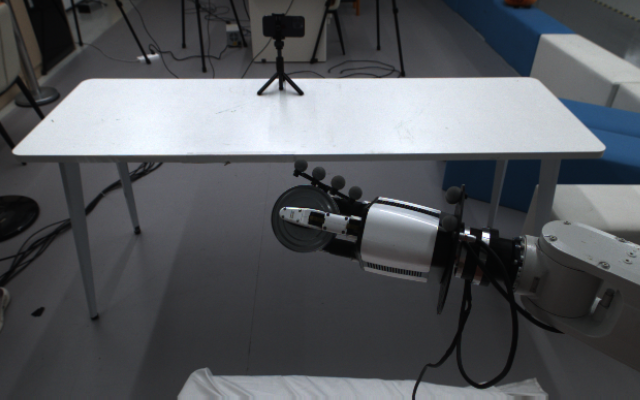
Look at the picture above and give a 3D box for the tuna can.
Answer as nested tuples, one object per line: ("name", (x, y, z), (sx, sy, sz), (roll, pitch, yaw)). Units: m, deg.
("tuna can", (-0.016, 0.024, 0.619), (0.085, 0.085, 0.034), (9, -5, 10))
